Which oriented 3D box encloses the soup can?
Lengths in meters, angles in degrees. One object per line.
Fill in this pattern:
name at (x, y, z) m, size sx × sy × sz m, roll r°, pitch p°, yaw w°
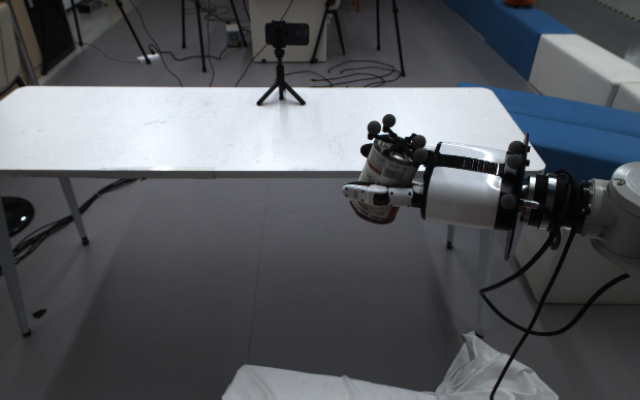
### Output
soup can at (0.088, -0.028, 0.646) m, size 0.067 × 0.101 × 0.067 m, roll 13°, pitch 35°, yaw -9°
